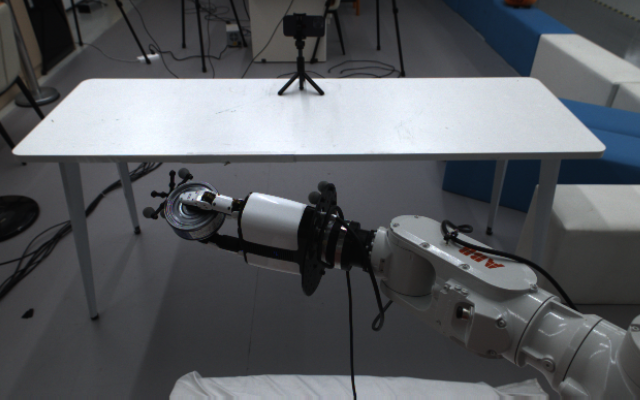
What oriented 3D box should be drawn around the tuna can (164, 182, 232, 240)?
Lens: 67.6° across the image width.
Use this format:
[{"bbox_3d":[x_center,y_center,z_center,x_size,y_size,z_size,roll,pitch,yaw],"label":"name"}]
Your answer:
[{"bbox_3d":[-0.182,0.016,0.718,0.085,0.034,0.085,-1,62,3],"label":"tuna can"}]
